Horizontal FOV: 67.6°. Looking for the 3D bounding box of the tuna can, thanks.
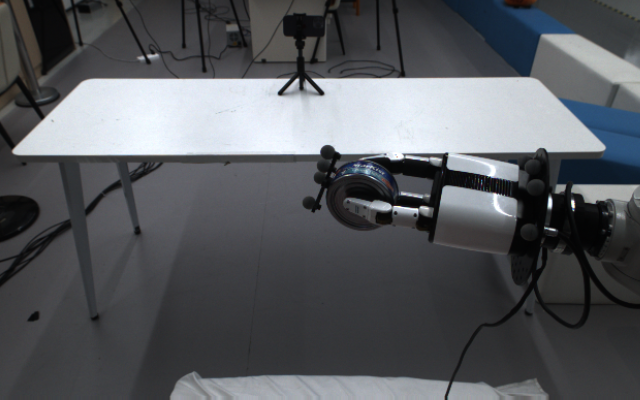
[{"bbox_3d":[0.054,-0.006,0.596,0.085,0.085,0.034,9,35,10],"label":"tuna can"}]
